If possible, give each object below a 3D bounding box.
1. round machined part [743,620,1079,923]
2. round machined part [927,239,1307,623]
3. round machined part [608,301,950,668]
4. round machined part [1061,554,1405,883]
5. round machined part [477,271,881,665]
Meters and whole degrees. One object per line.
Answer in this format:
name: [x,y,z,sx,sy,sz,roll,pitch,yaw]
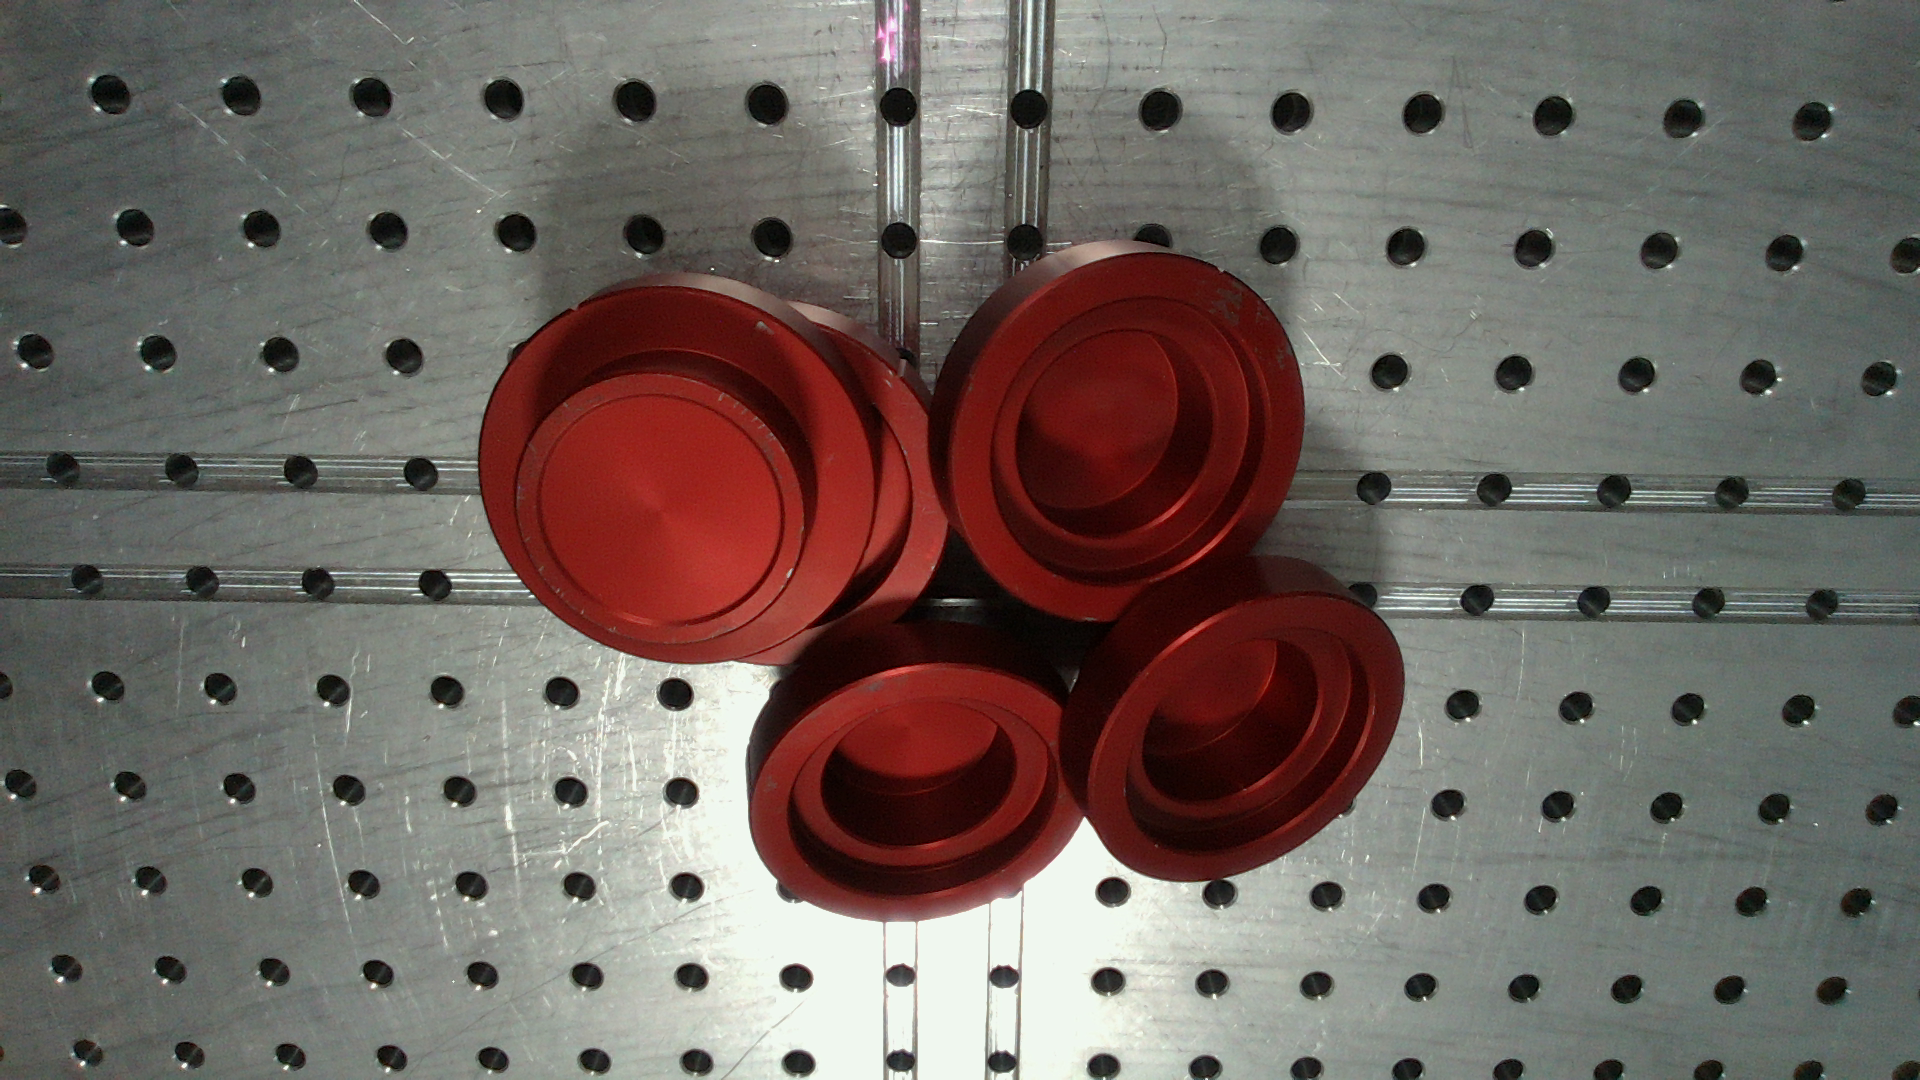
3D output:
round machined part: [-0.014,0.063,0.401,0.098,0.042,0.098,-6,125,-8]
round machined part: [0.038,-0.031,0.367,0.098,0.042,0.098,-6,112,-15]
round machined part: [-0.051,-0.018,0.380,0.098,0.042,0.098,0,110,0]
round machined part: [0.073,0.046,0.392,0.098,0.042,0.098,-11,123,-18]
round machined part: [-0.069,-0.013,0.337,0.098,0.042,0.098,0,110,0]
